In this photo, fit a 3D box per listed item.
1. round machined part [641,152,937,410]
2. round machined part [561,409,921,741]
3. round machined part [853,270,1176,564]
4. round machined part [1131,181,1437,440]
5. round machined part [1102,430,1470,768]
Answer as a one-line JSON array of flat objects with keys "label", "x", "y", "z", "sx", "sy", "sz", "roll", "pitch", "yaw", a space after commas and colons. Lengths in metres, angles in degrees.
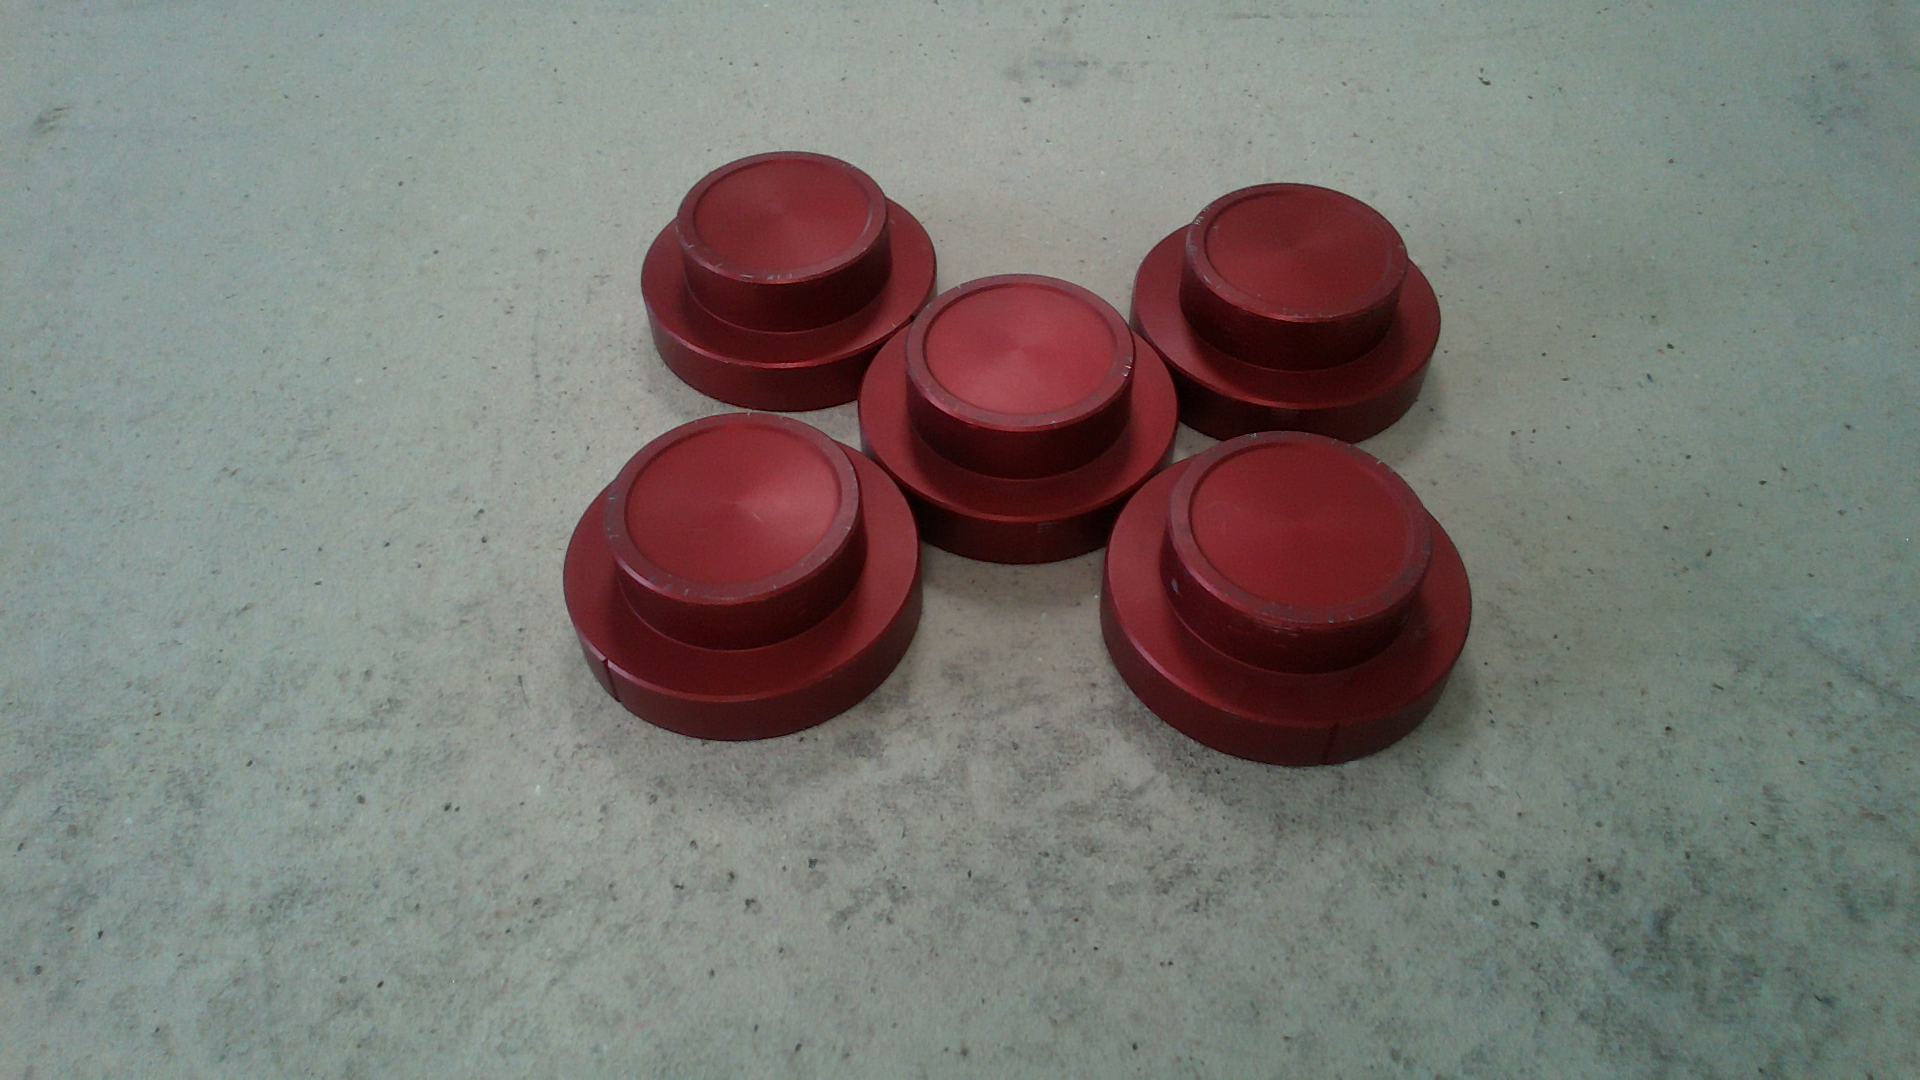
[{"label": "round machined part", "x": -0.057, "y": -0.092, "z": 0.458, "sx": 0.098, "sy": 0.042, "sz": 0.098, "roll": 0, "pitch": 50, "yaw": 0}, {"label": "round machined part", "x": -0.060, "y": 0.002, "z": 0.378, "sx": 0.098, "sy": 0.042, "sz": 0.098, "roll": 0, "pitch": 51, "yaw": 0}, {"label": "round machined part", "x": 0.016, "y": -0.044, "z": 0.417, "sx": 0.098, "sy": 0.042, "sz": 0.098, "roll": 0, "pitch": 51, "yaw": 1}, {"label": "round machined part", "x": 0.105, "y": -0.079, "z": 0.446, "sx": 0.098, "sy": 0.042, "sz": 0.098, "roll": 0, "pitch": 51, "yaw": 1}, {"label": "round machined part", "x": 0.089, "y": 0.009, "z": 0.373, "sx": 0.098, "sy": 0.042, "sz": 0.098, "roll": 0, "pitch": 51, "yaw": 1}]
